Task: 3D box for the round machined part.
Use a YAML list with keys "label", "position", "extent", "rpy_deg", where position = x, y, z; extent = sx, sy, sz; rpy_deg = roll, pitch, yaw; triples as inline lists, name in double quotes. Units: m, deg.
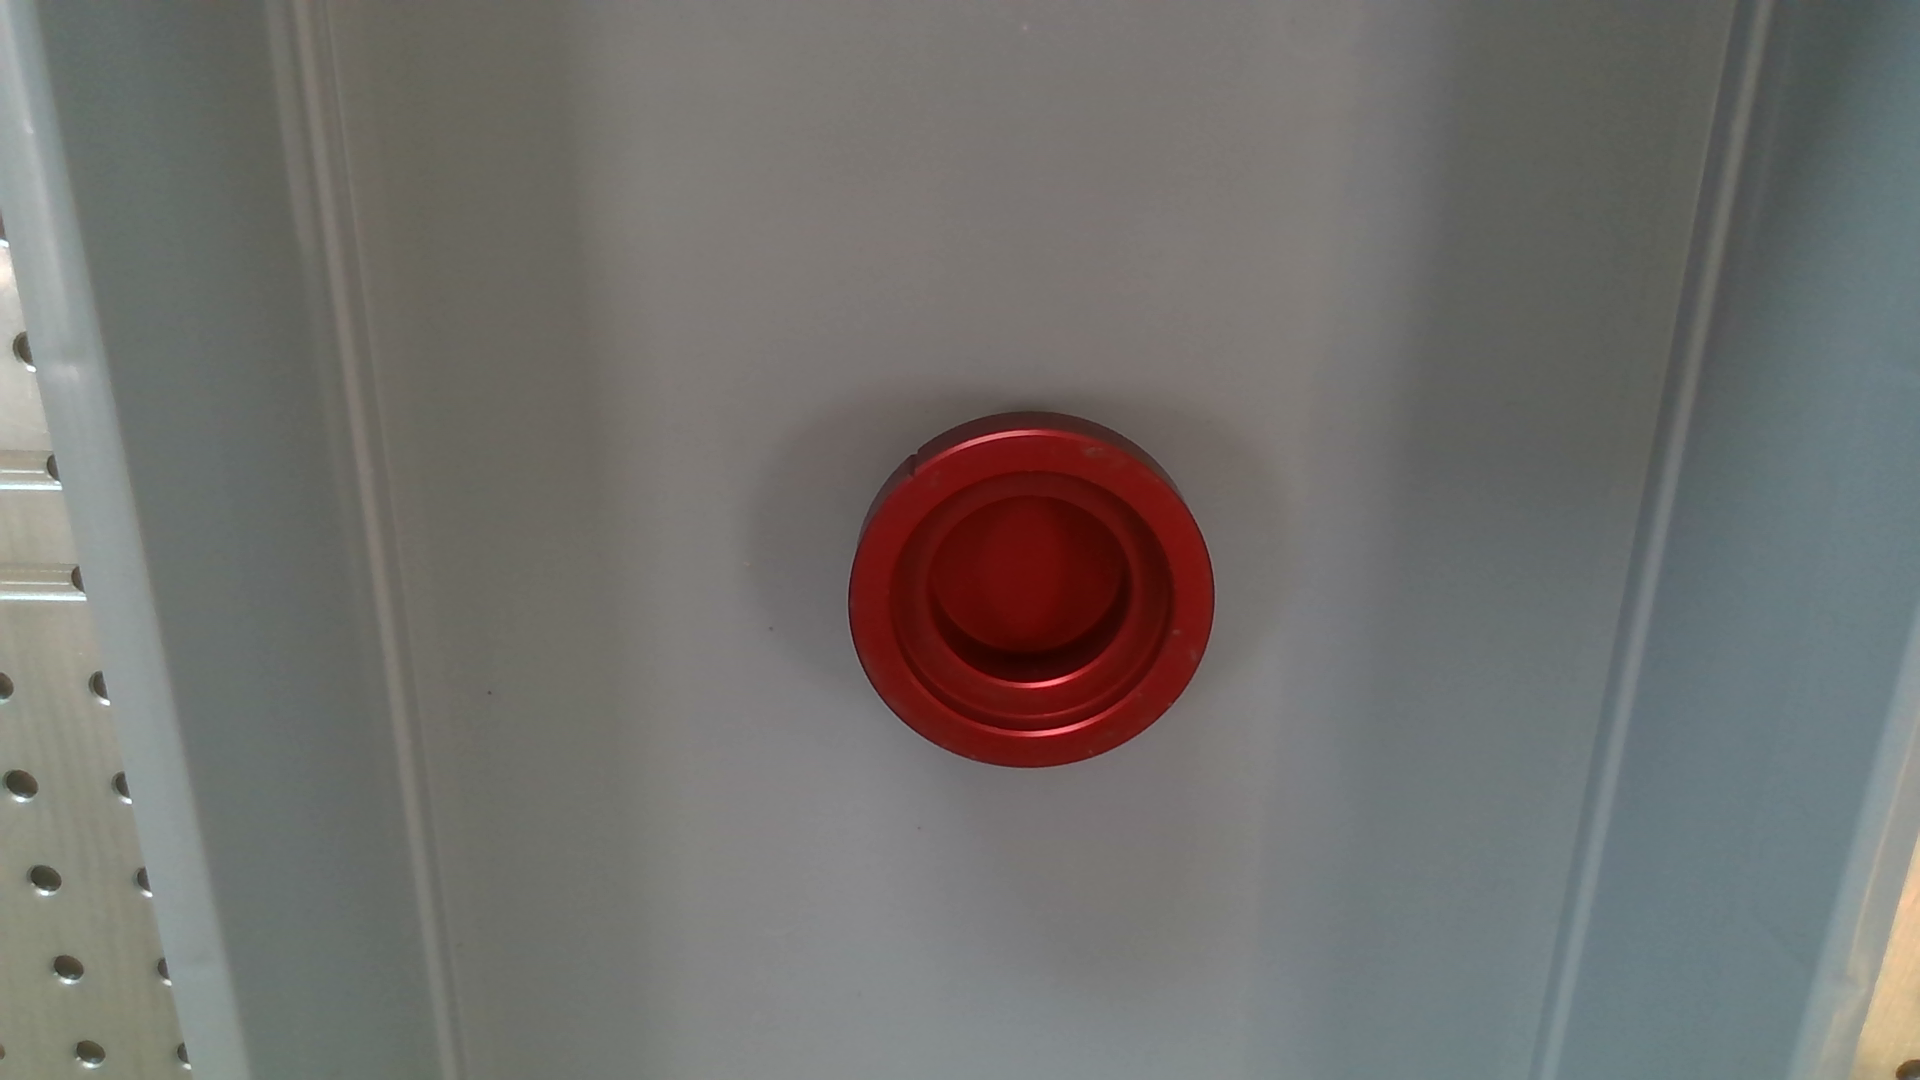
- label: "round machined part"
  position: [0.019, 0.011, 0.385]
  extent: [0.098, 0.042, 0.098]
  rpy_deg: [0, 110, 0]
